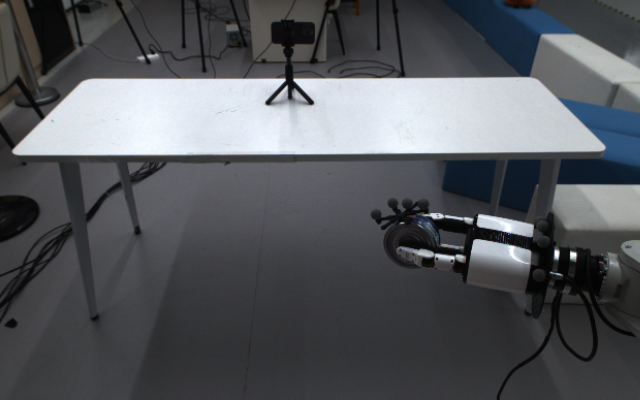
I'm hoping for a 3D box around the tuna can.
[{"bbox_3d":[0.147,0.064,0.769,0.085,0.085,0.034,15,30,17],"label":"tuna can"}]
